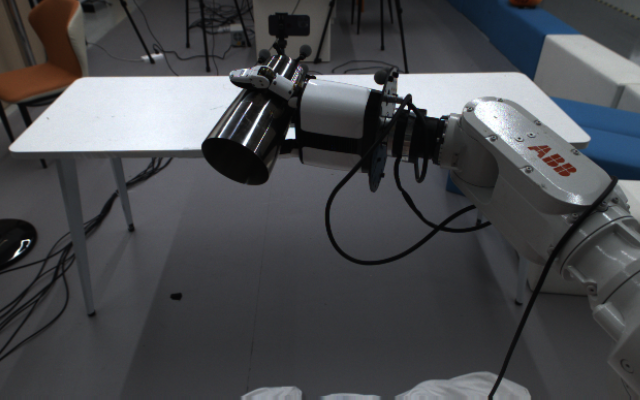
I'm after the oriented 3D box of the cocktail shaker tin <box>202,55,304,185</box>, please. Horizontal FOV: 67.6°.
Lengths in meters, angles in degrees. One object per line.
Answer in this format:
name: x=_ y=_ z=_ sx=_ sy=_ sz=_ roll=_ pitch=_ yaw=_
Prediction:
cocktail shaker tin: x=-0.080 y=-0.116 z=0.645 sx=0.093 sy=0.093 sz=0.170 roll=13 pitch=57 yaw=16
